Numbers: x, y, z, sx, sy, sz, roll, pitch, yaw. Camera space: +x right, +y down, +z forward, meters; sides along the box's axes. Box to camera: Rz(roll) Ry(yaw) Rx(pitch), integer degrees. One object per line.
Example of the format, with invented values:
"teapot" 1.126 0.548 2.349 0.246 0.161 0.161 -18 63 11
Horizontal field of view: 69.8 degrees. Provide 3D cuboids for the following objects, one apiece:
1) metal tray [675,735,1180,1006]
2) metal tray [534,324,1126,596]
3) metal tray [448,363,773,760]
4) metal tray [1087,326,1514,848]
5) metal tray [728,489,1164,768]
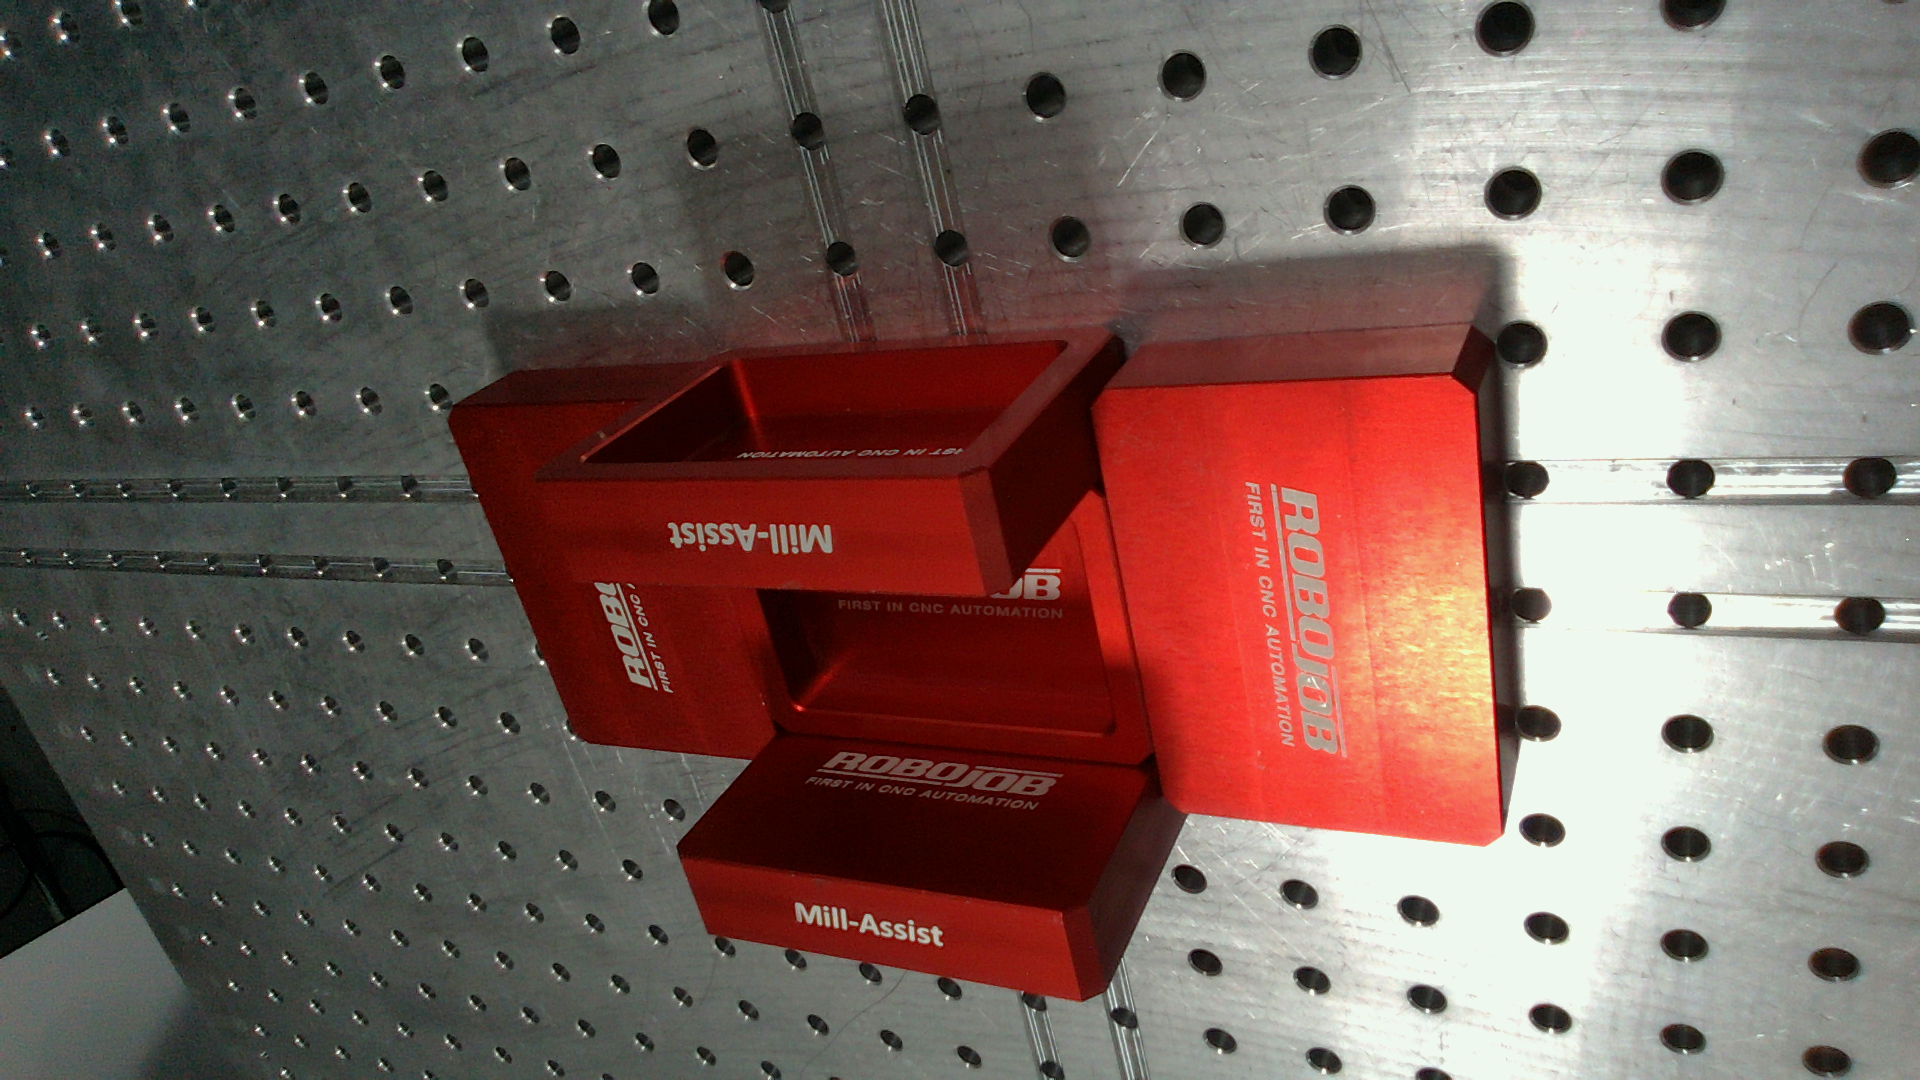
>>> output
"metal tray" -0.006 0.084 0.407 0.130 0.090 0.030 1 119 28
"metal tray" -0.031 -0.023 0.357 0.130 0.090 0.030 1 119 28
"metal tray" -0.105 0.009 0.454 0.090 0.030 0.130 1 119 28
"metal tray" 0.089 0.014 0.351 0.090 0.030 0.130 0 119 27
"metal tray" -0.007 0.017 0.404 0.130 0.030 0.090 1 119 28
